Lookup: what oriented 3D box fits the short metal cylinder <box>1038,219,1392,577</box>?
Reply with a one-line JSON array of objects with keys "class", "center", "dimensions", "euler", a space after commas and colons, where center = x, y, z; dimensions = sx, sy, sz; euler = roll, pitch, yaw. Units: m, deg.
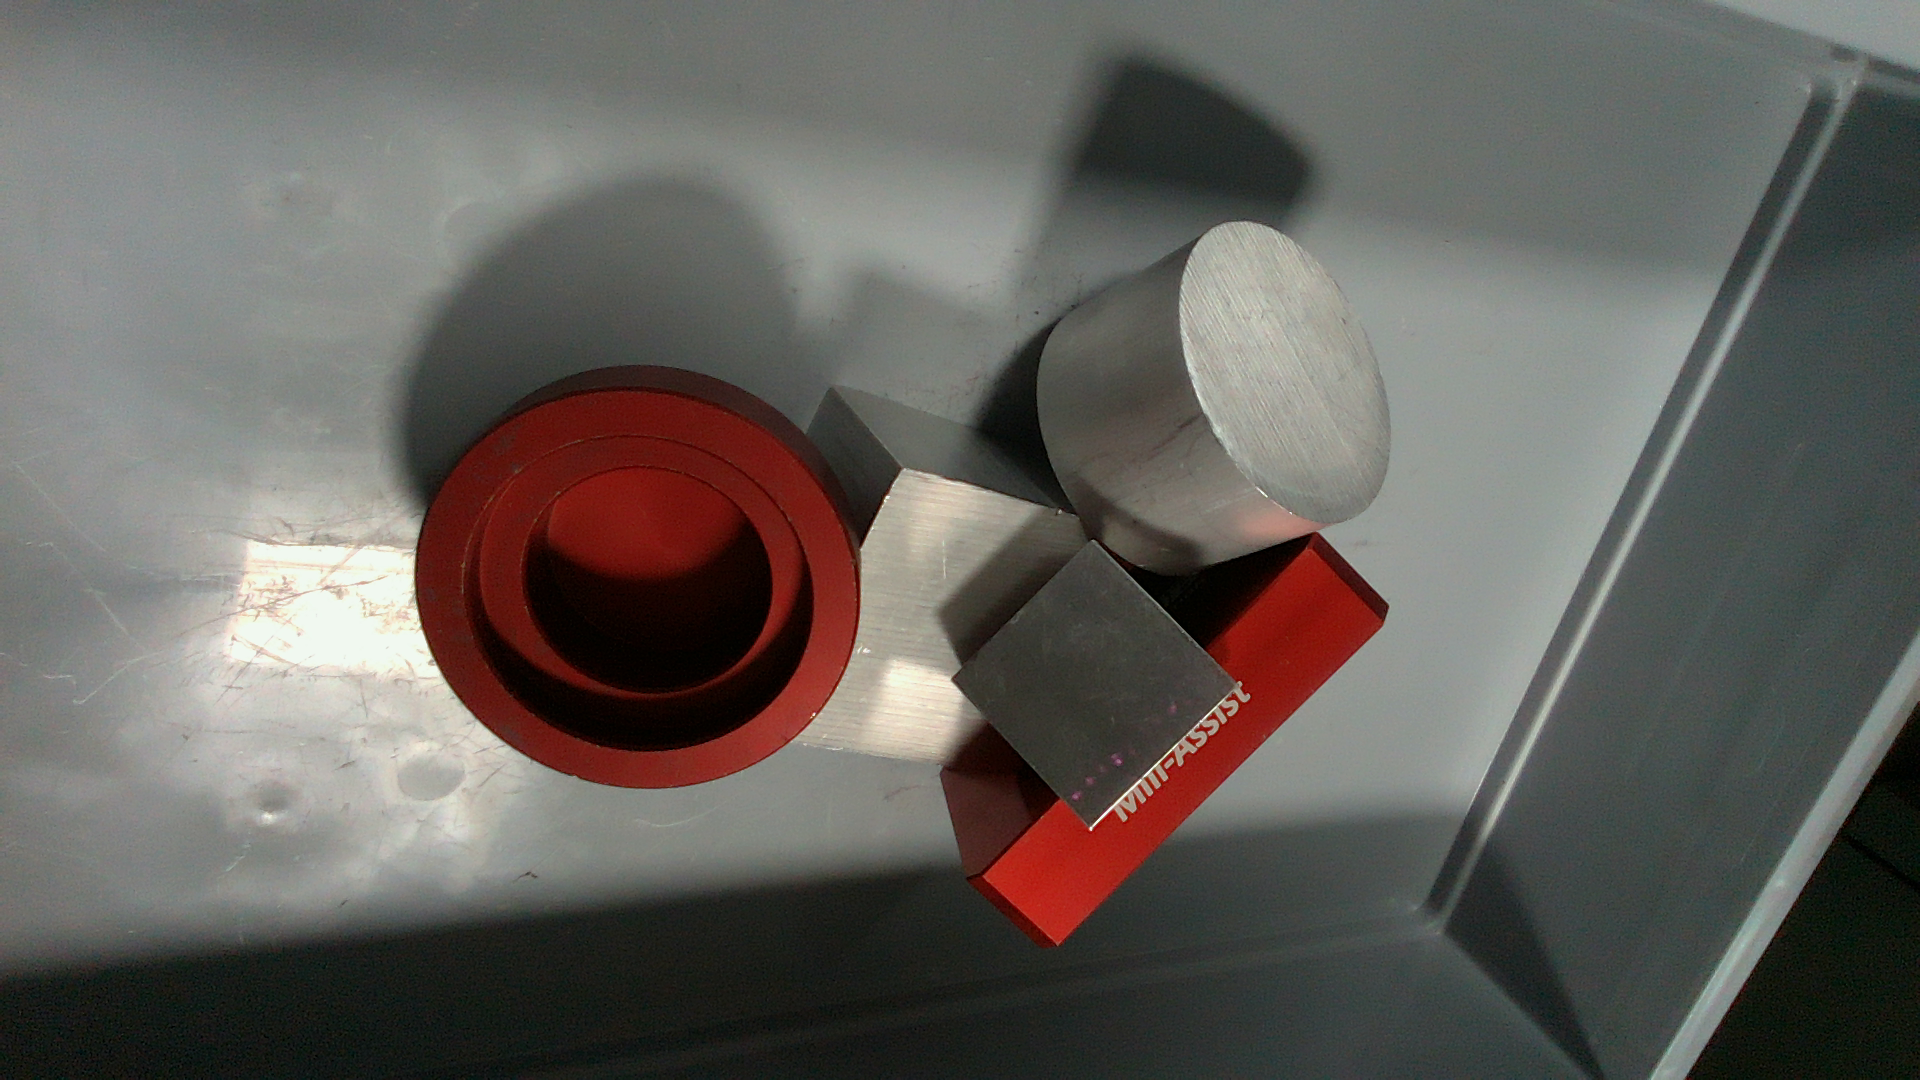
[{"class": "short metal cylinder", "center": [0.067, -0.035, 0.359], "dimensions": [0.080, 0.080, 0.050], "euler": [17, 154, -35]}]

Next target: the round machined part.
[{"class": "round machined part", "center": [-0.073, 0.006, 0.326], "dimensions": [0.098, 0.042, 0.098], "euler": [-1, 111, -3]}]

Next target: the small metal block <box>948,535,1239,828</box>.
[{"class": "small metal block", "center": [0.034, 0.035, 0.345], "dimensions": [0.050, 0.050, 0.025], "euler": [-44, 167, 3]}]

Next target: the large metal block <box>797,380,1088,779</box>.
[{"class": "large metal block", "center": [-0.009, 0.013, 0.375], "dimensions": [0.080, 0.050, 0.080], "euler": [15, 110, -34]}]

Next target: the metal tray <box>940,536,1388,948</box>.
[{"class": "metal tray", "center": [0.053, 0.046, 0.401], "dimensions": [0.030, 0.090, 0.130], "euler": [44, 93, -12]}]
